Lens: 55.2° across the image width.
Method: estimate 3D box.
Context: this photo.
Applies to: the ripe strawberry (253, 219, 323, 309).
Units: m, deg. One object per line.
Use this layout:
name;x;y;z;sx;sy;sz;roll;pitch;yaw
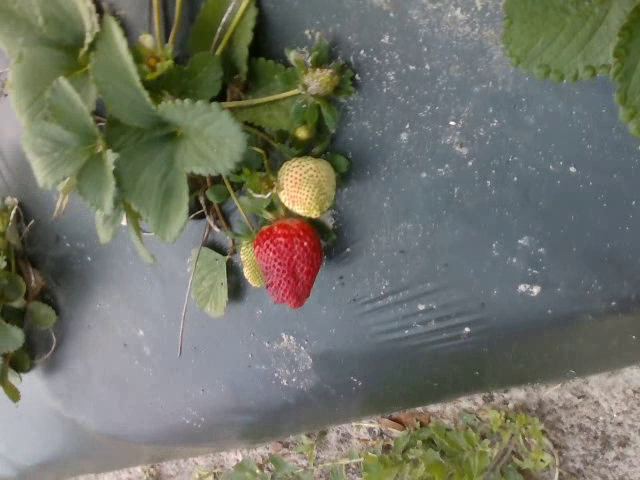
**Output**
ripe strawberry;-0.016;0.016;0.349;0.045;0.059;0.046;7;-20;-40
